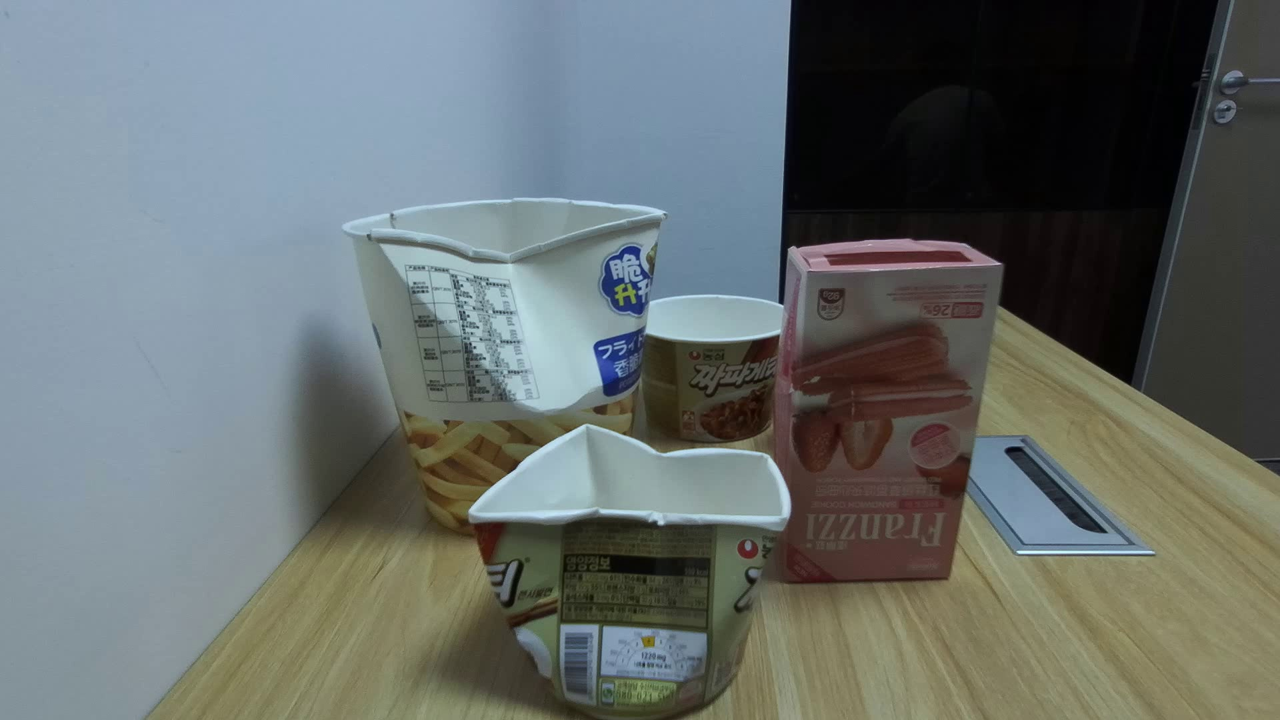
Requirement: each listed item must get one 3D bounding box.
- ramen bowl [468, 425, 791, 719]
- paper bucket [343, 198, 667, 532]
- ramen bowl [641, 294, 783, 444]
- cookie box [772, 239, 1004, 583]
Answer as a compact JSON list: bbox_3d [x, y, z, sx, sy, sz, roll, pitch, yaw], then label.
[{"bbox_3d":[0.004,0.099,0.343,0.128,0.093,0.112,7,22,22],"label":"ramen bowl"},{"bbox_3d":[-0.091,0.000,0.479,0.168,0.202,0.163,13,26,41],"label":"paper bucket"},{"bbox_3d":[0.064,0.007,0.602,0.140,0.095,0.140,-1,20,1],"label":"ramen bowl"},{"bbox_3d":[0.124,0.031,0.386,0.105,0.187,0.049,-1,22,-1],"label":"cookie box"}]
